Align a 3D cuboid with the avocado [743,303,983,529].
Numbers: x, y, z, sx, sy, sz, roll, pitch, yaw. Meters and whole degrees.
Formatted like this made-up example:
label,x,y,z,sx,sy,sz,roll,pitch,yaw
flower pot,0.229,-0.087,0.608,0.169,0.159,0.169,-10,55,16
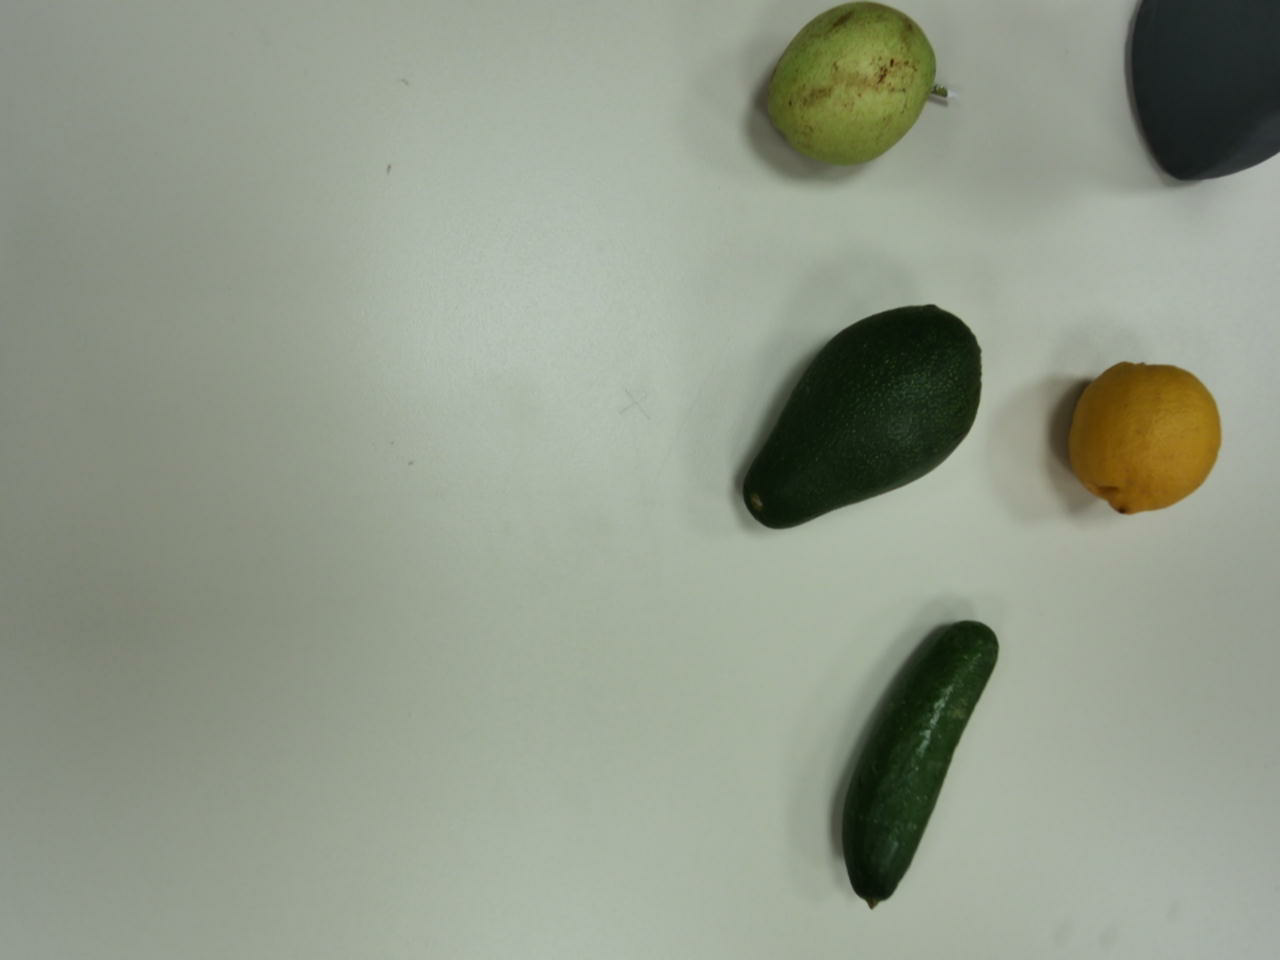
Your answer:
label,x,y,z,sx,sy,sz,roll,pitch,yaw
avocado,0.092,-0.028,0.422,0.109,0.071,0.072,-23,95,-10
